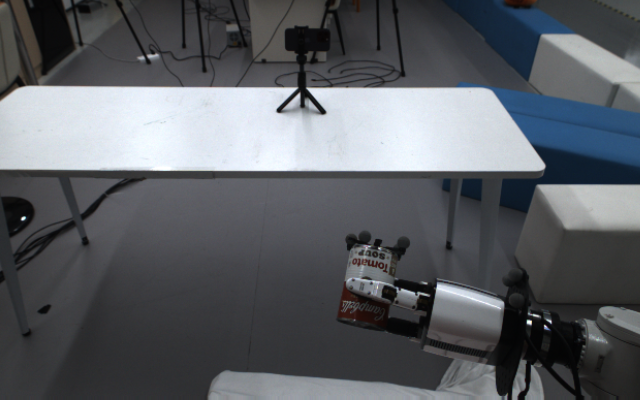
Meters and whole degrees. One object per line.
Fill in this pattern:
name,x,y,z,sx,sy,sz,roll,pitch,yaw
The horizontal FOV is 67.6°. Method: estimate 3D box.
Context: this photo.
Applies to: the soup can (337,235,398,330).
soup can,0.066,0.116,0.649,0.067,0.067,0.101,9,72,10
